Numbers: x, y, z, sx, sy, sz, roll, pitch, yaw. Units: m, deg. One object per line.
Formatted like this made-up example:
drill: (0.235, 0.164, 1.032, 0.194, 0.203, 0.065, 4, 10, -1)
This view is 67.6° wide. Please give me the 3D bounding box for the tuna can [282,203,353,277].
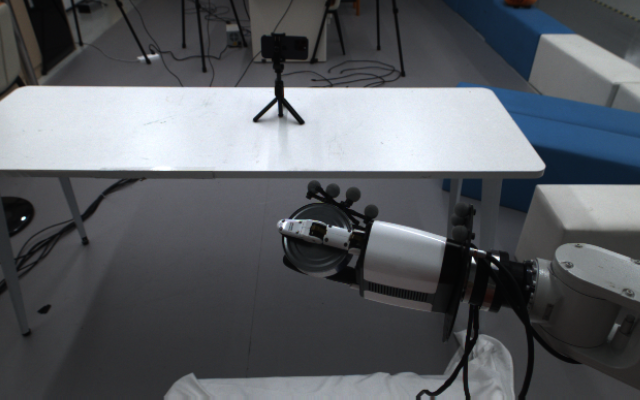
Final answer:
tuna can: (0.002, 0.047, 0.580, 0.085, 0.034, 0.085, -4, 67, 10)
